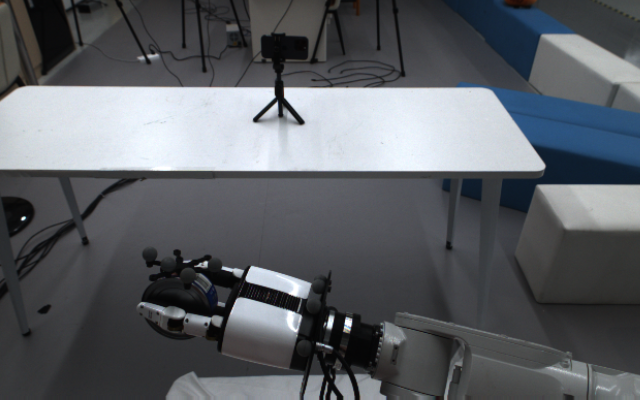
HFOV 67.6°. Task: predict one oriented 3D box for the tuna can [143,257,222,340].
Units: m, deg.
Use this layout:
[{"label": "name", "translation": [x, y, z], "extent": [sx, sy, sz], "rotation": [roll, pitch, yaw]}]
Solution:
[{"label": "tuna can", "translation": [-0.168, 0.125, 0.591], "extent": [0.085, 0.085, 0.034], "rotation": [5, 17, 5]}]
